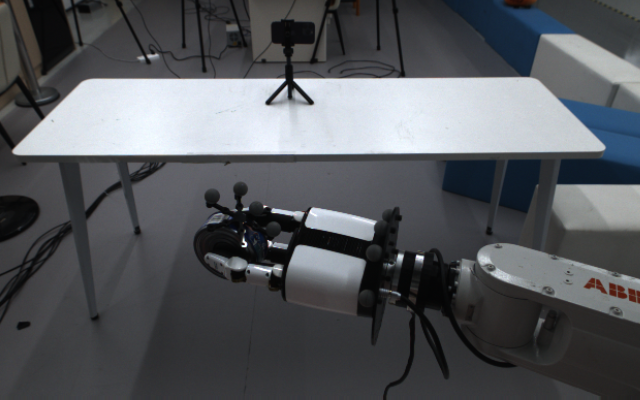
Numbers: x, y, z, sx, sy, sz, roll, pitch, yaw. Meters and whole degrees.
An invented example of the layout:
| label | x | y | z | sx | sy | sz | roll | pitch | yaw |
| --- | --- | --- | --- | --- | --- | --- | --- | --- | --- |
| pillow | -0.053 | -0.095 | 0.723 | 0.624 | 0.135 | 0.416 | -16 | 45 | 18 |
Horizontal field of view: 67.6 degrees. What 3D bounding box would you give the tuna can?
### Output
| label | x | y | z | sx | sy | sz | roll | pitch | yaw |
| --- | --- | --- | --- | --- | --- | --- | --- | --- | --- |
| tuna can | -0.107 | 0.056 | 0.587 | 0.085 | 0.085 | 0.034 | 12 | 35 | 14 |
